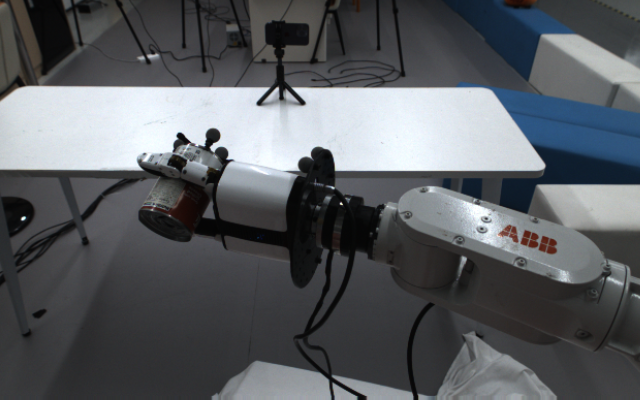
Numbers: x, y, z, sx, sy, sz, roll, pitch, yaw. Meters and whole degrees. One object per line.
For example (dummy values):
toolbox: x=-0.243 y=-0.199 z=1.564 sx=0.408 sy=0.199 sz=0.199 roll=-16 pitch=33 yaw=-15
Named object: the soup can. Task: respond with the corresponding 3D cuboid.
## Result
soup can: x=-0.163 y=-0.009 z=0.583 sx=0.067 sy=0.067 sz=0.101 roll=12 pitch=59 yaw=14
